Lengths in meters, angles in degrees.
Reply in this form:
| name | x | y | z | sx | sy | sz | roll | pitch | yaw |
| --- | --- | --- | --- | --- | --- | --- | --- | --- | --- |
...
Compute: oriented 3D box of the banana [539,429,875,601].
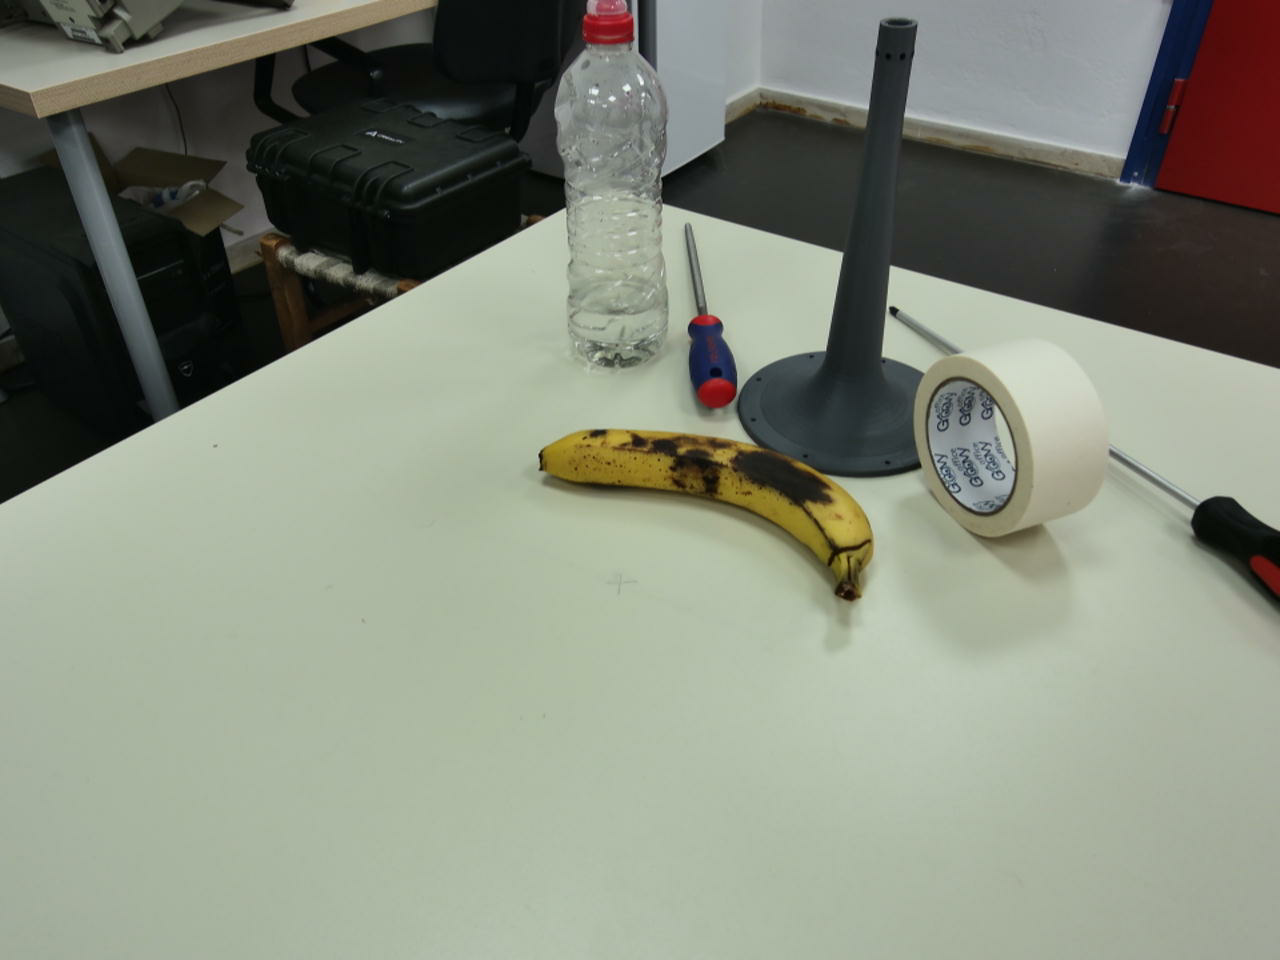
| name | x | y | z | sx | sy | sz | roll | pitch | yaw |
| --- | --- | --- | --- | --- | --- | --- | --- | --- | --- |
| banana | 0.046 | 0.004 | 0.596 | 0.222 | 0.037 | 0.084 | 24 | 44 | 29 |
